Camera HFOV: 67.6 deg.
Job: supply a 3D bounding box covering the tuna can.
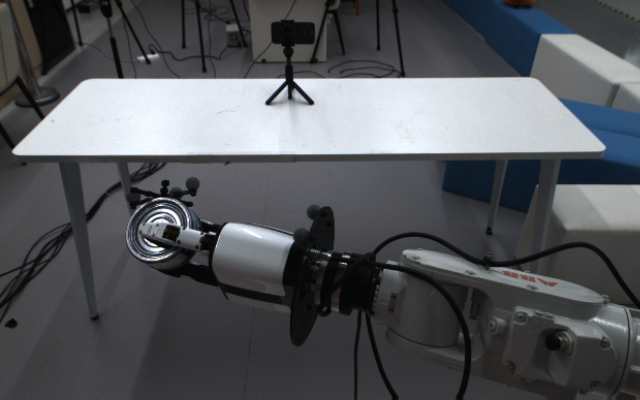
[{"bbox_3d":[-0.186,0.047,0.588,0.085,0.034,0.085,-3,69,9],"label":"tuna can"}]
